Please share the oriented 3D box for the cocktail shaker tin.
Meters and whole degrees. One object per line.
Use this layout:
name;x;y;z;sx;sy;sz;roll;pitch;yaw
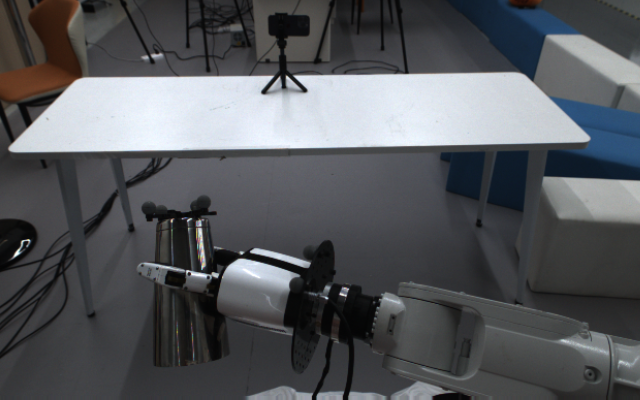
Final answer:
cocktail shaker tin;-0.165;0.112;0.604;0.093;0.170;0.093;-6;-7;-1
